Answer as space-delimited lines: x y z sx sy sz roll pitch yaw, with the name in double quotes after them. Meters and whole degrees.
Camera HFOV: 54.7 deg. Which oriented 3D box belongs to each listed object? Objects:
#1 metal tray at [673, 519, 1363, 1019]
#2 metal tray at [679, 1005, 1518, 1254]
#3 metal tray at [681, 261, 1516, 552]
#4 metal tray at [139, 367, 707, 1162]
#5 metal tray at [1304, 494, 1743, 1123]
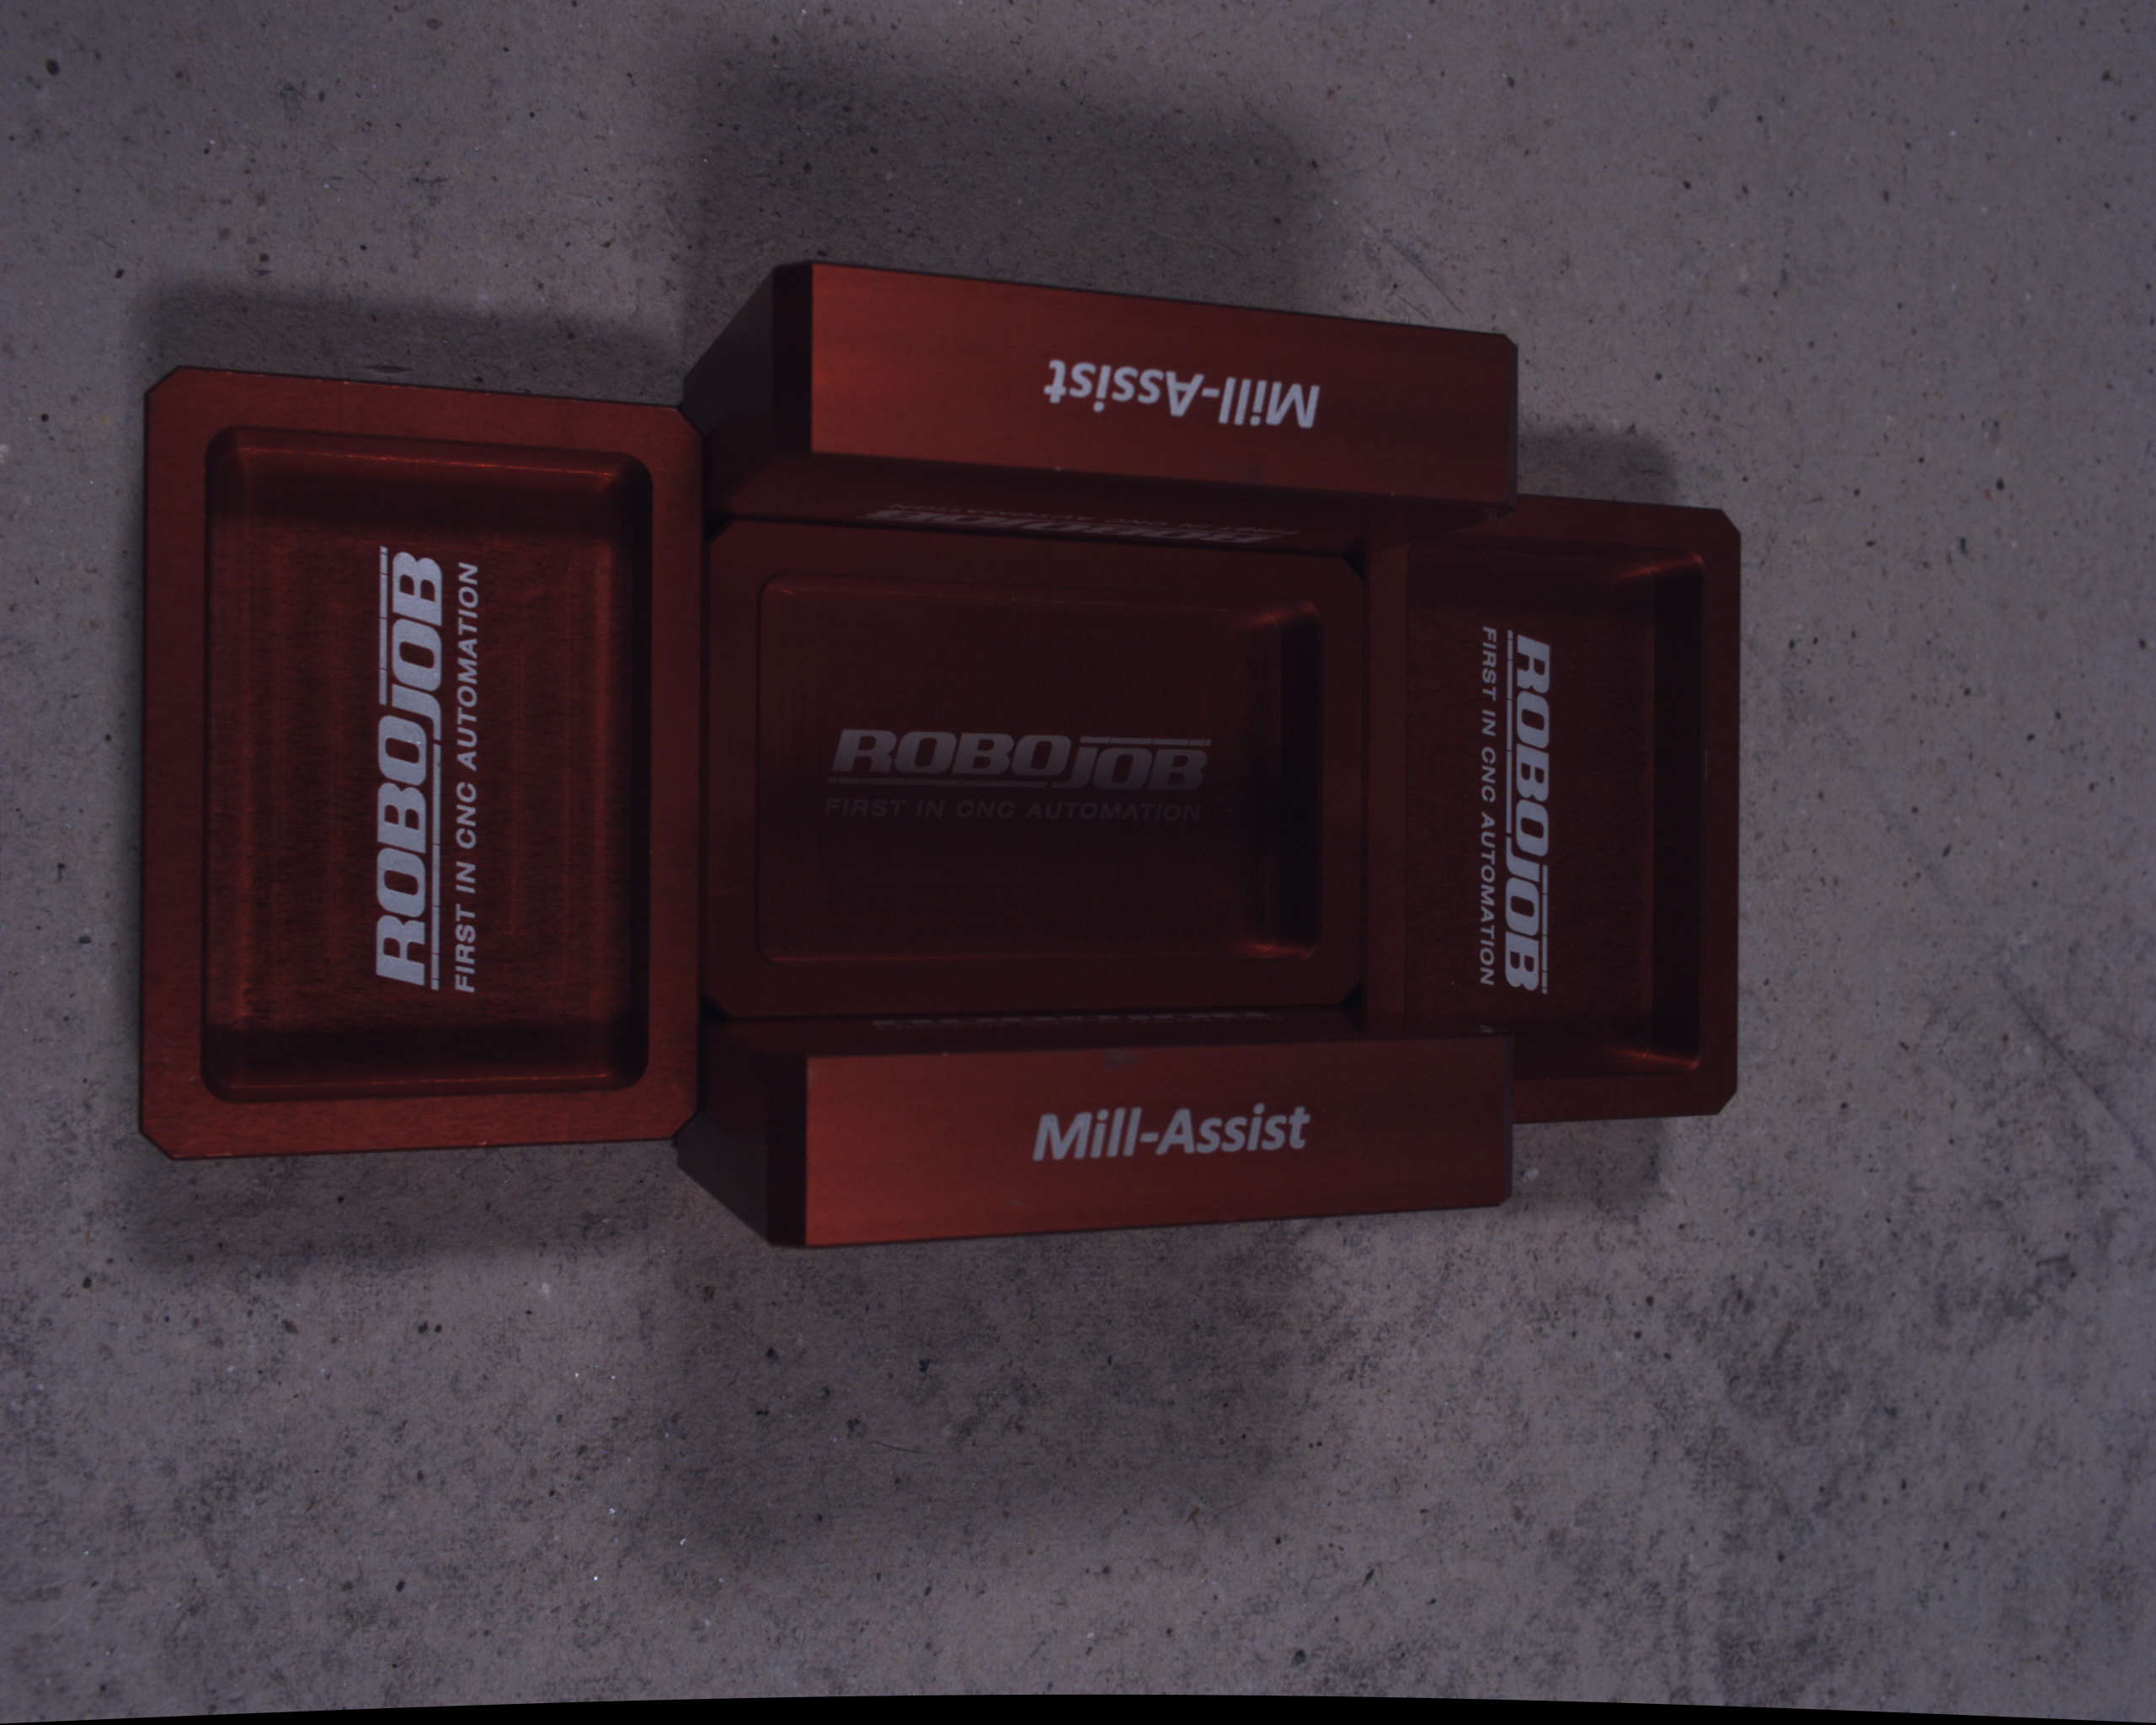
-0.010 -0.016 0.405 0.131 0.030 0.089 1 90 -21 "metal tray"
0.001 0.044 0.375 0.131 0.090 0.030 0 90 -20 "metal tray"
0.001 -0.076 0.377 0.131 0.090 0.030 0 90 -20 "metal tray"
-0.114 -0.016 0.366 0.091 0.030 0.129 1 90 -21 "metal tray"
0.095 -0.011 0.444 0.091 0.030 0.129 1 90 -21 "metal tray"
